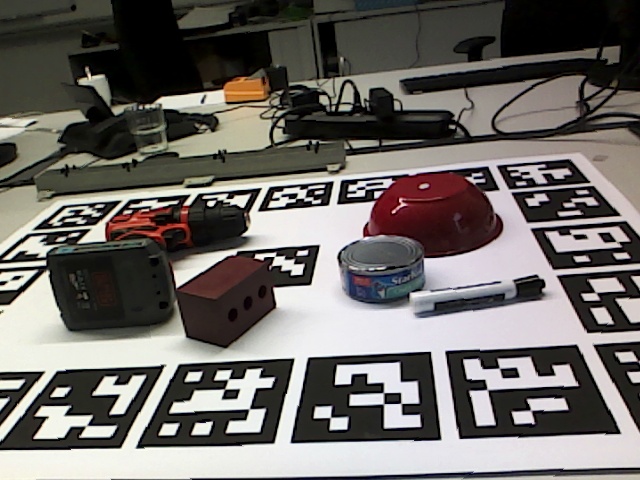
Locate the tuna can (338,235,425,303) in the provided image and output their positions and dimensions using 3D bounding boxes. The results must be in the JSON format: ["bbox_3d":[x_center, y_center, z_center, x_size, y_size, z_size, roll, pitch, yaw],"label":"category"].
[{"bbox_3d":[0.062,0.028,0.616,0.086,0.033,0.086,-4,25,2],"label":"tuna can"}]

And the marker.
[{"bbox_3d":[0.144,0.049,0.561,0.121,0.019,0.020,-8,26,-2],"label":"marker"}]

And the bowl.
[{"bbox_3d":[0.120,-0.031,0.727,0.162,0.055,0.162,-9,17,2],"label":"bowl"}]

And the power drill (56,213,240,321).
[{"bbox_3d":[-0.193,0.021,0.692,0.185,0.057,0.187,-2,22,4],"label":"power drill"}]

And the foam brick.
[{"bbox_3d":[-0.086,0.064,0.578,0.052,0.052,0.078,8,30,28],"label":"foam brick"}]
